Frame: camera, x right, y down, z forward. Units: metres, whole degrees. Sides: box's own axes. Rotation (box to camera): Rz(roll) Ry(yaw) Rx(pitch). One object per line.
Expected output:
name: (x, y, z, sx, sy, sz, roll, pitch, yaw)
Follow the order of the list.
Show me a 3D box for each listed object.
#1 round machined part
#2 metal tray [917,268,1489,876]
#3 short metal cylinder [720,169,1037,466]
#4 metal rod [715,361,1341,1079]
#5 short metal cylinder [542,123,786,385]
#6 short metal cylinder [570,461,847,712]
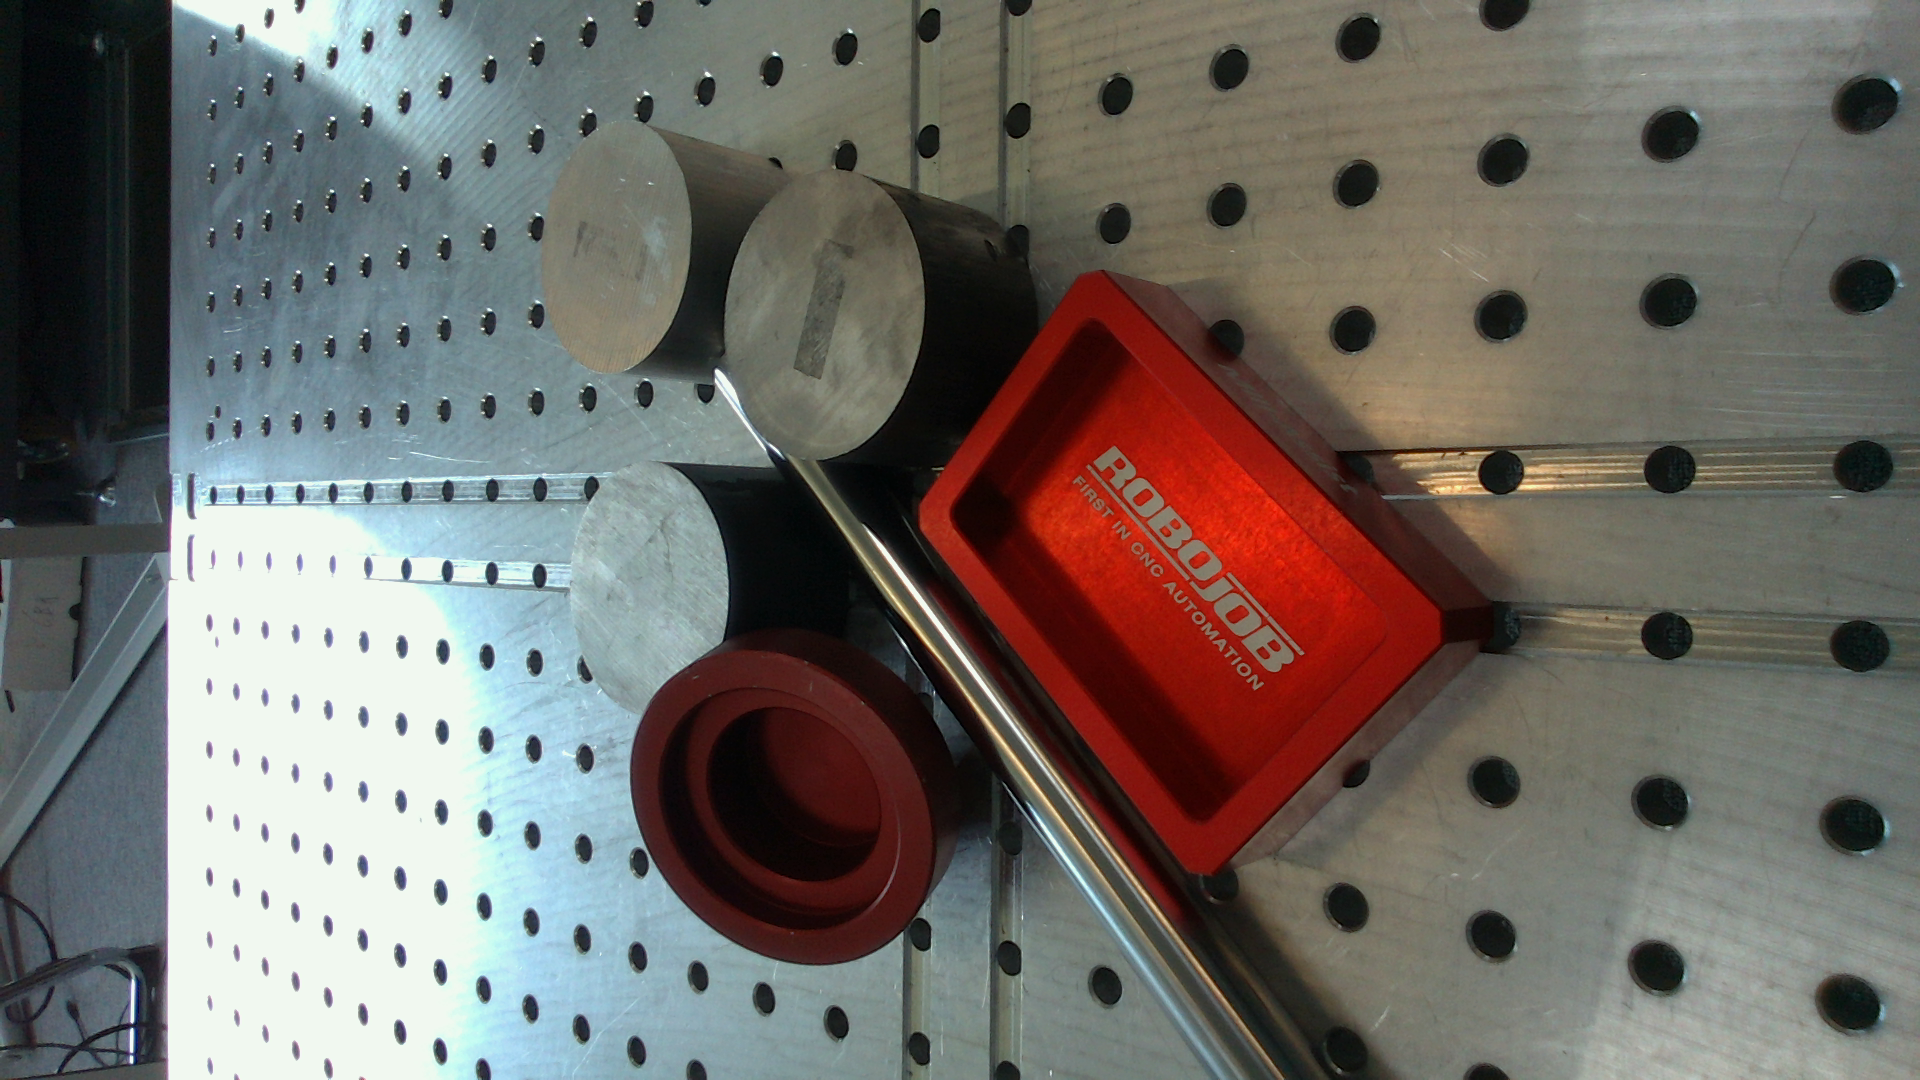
round machined part: (-0.046, 0.072, 0.411, 0.098, 0.042, 0.098, 6, 107, 20)
metal tray: (0.054, 0.006, 0.348, 0.130, 0.030, 0.090, 51, 121, 28)
short metal cylinder: (-0.025, -0.062, 0.401, 0.080, 0.050, 0.080, 0, 90, 40)
metal rod: (0.011, 0.046, 0.389, 0.299, 0.025, 0.025, 52, 121, 27)
short metal cylinder: (-0.096, -0.094, 0.462, 0.080, 0.050, 0.080, 0, 90, 40)
short metal cylinder: (-0.083, 0.015, 0.451, 0.080, 0.050, 0.080, 0, 90, 40)
